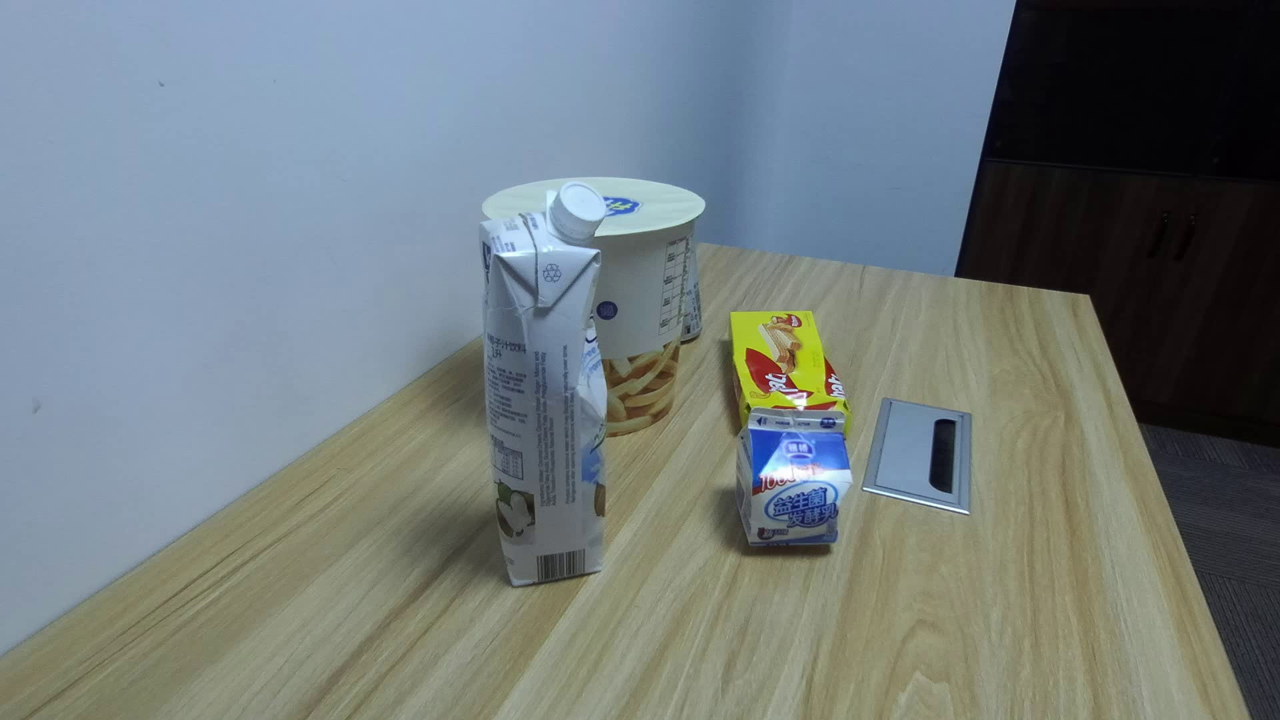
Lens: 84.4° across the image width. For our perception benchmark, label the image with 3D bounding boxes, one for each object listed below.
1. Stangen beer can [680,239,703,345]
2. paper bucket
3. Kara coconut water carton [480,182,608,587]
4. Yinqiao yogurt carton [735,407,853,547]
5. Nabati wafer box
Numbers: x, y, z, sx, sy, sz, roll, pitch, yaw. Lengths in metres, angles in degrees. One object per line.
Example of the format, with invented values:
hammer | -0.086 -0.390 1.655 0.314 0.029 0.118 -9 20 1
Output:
Stangen beer can | 0.040 -0.100 0.804 0.066 0.162 0.077 -7 18 -24
paper bucket | -0.039 -0.050 0.650 0.198 0.195 0.198 0 28 0
Kara coconut water carton | -0.059 0.020 0.446 0.078 0.255 0.083 1 26 -1
Yinqiao yogurt carton | 0.111 0.078 0.508 0.074 0.097 0.080 0 20 -3
Nabati wafer box | 0.146 0.010 0.707 0.107 0.042 0.204 1 28 3
